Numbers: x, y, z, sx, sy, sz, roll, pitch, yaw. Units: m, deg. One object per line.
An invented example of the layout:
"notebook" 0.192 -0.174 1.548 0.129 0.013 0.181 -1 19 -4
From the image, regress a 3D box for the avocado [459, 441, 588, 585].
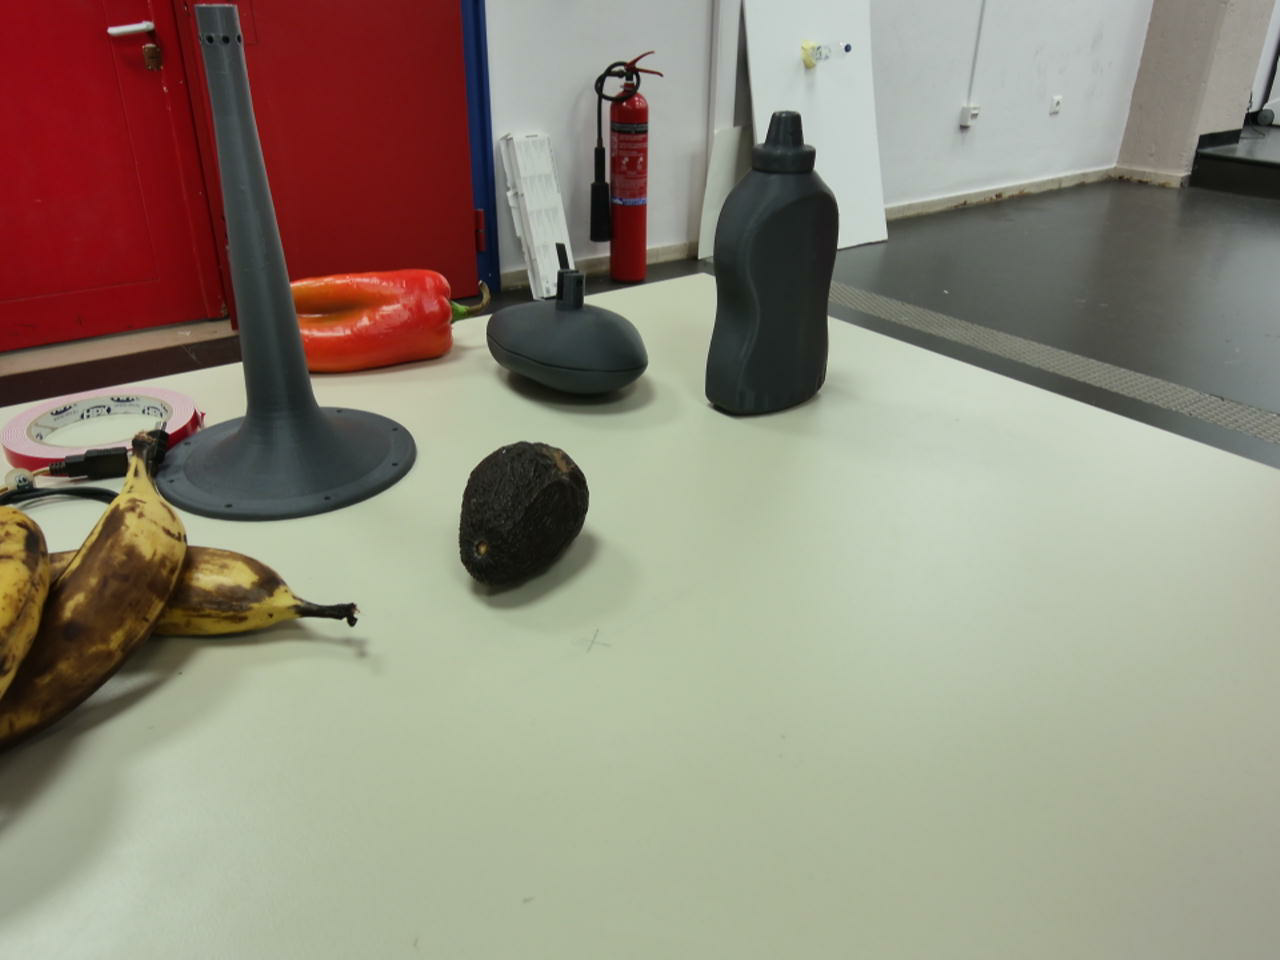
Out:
"avocado" -0.062 0.015 0.509 0.062 0.062 0.092 13 29 26
